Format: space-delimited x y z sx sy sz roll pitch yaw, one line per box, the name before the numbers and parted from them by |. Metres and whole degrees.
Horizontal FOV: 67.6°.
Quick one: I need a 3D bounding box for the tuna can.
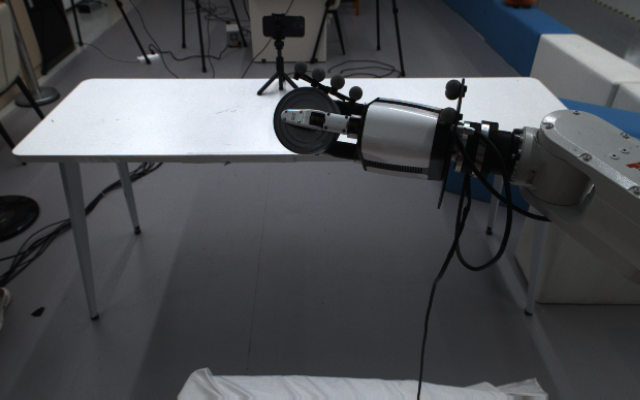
tuna can | -0.014 -0.101 0.629 0.085 0.085 0.034 10 4 11
